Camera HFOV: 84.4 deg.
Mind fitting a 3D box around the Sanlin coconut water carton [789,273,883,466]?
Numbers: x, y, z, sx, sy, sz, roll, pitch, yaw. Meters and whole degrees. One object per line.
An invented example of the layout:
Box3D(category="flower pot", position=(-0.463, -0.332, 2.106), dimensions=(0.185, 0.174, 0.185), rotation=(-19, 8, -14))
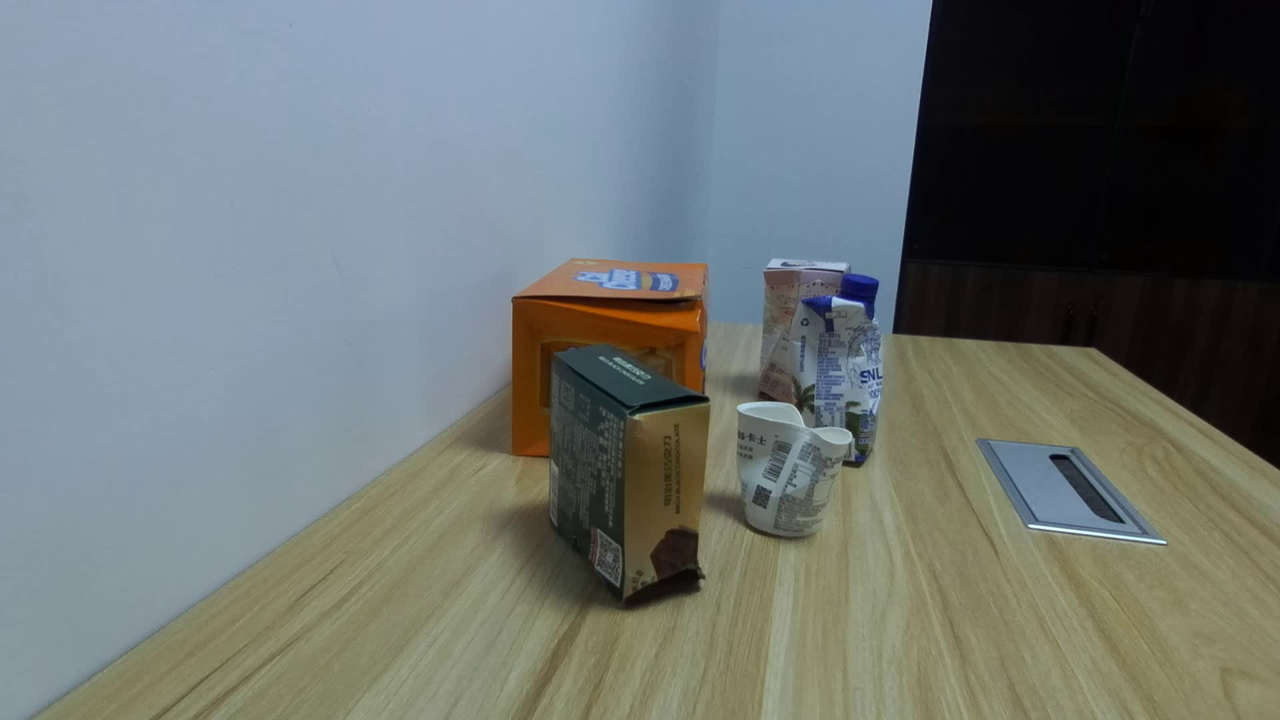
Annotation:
Box3D(category="Sanlin coconut water carton", position=(0.159, 0.005, 0.570), dimensions=(0.068, 0.144, 0.057), rotation=(0, 7, 23))

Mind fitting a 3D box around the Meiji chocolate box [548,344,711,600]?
Box3D(category="Meiji chocolate box", position=(-0.011, 0.060, 0.409), dimensions=(0.059, 0.116, 0.122), rotation=(-5, 15, -27))

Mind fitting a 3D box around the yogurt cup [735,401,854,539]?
Box3D(category="yogurt cup", position=(0.094, 0.069, 0.452), dimensions=(0.075, 0.071, 0.054), rotation=(7, 19, 18))

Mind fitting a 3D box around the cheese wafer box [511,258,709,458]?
Box3D(category="cheese wafer box", position=(-0.014, -0.014, 0.636), dimensions=(0.149, 0.137, 0.227), rotation=(4, 16, 6))
